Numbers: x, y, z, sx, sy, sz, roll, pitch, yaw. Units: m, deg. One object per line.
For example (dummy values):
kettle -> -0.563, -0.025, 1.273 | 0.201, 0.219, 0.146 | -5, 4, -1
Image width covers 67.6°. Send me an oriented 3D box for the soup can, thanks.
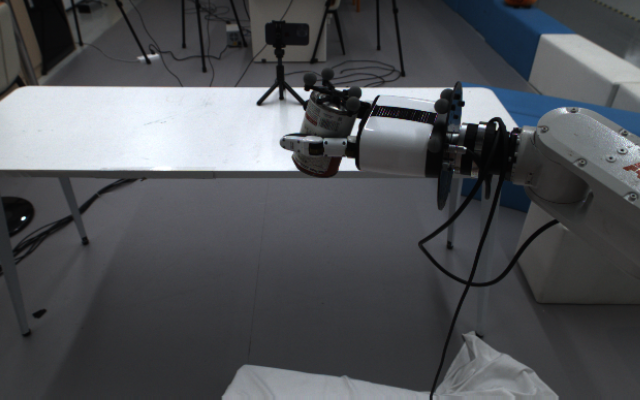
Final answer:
soup can -> 0.007, -0.089, 0.650 | 0.067, 0.101, 0.067 | 13, 34, -9
